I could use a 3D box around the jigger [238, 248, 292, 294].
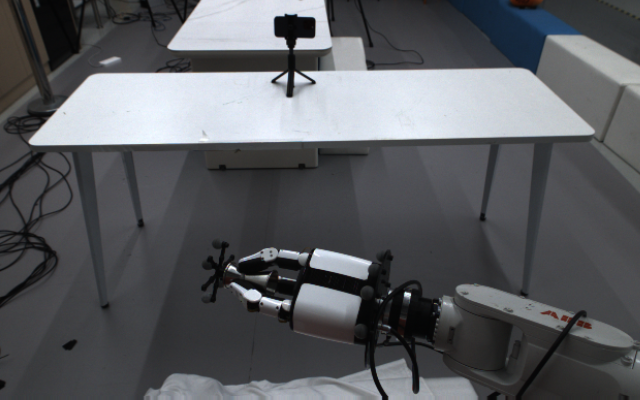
[{"bbox_3d":[-0.095,0.111,0.691,0.071,0.043,0.043,10,35,15],"label":"jigger"}]
